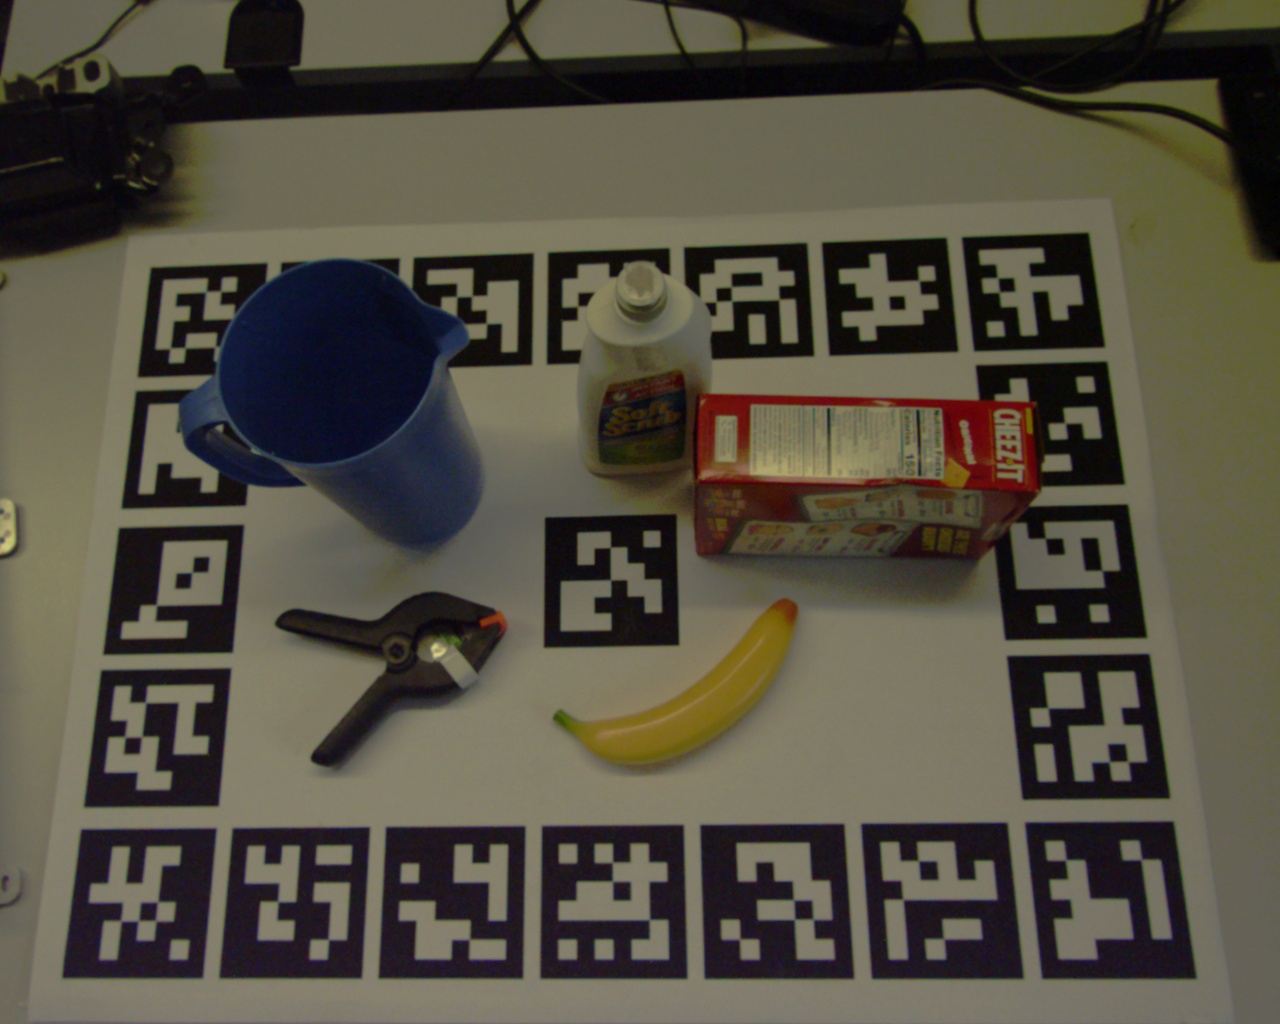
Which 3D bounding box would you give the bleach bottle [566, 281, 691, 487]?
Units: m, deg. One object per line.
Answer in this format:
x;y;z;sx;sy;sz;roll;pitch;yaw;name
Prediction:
-0.015;-0.091;0.825;0.103;0.250;0.068;0;71;3;bleach bottle

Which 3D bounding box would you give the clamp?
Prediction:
-0.187;0.107;0.882;0.165;0.036;0.122;-16;70;-3;clamp

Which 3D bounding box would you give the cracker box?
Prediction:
0.141;-0.012;0.817;0.214;0.163;0.072;1;69;5;cracker box

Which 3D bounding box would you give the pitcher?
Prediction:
-0.203;-0.057;0.807;0.188;0.242;0.134;-18;71;-5;pitcher

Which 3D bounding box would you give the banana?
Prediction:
0.033;0.131;0.867;0.197;0.038;0.075;-33;72;-7;banana
